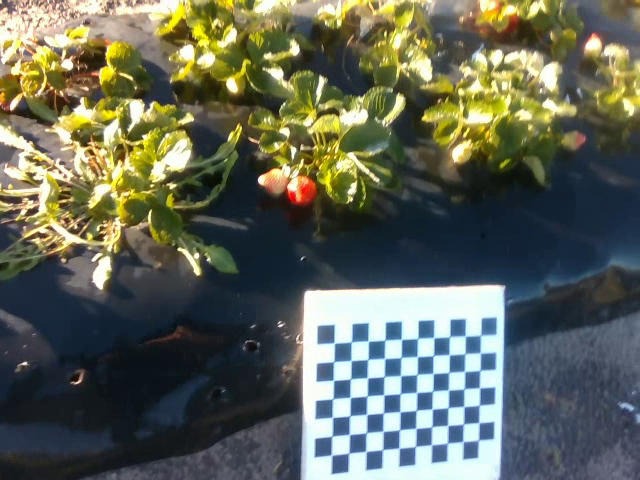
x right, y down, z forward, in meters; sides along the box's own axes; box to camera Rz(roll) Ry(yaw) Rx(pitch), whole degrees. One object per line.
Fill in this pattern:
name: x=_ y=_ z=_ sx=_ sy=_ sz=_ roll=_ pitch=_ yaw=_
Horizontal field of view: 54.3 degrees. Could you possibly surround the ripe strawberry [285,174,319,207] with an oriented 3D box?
ripe strawberry: x=-0.023 y=-0.057 z=0.737 sx=0.040 sy=0.038 sz=0.056 roll=-16 pitch=10 yaw=12
